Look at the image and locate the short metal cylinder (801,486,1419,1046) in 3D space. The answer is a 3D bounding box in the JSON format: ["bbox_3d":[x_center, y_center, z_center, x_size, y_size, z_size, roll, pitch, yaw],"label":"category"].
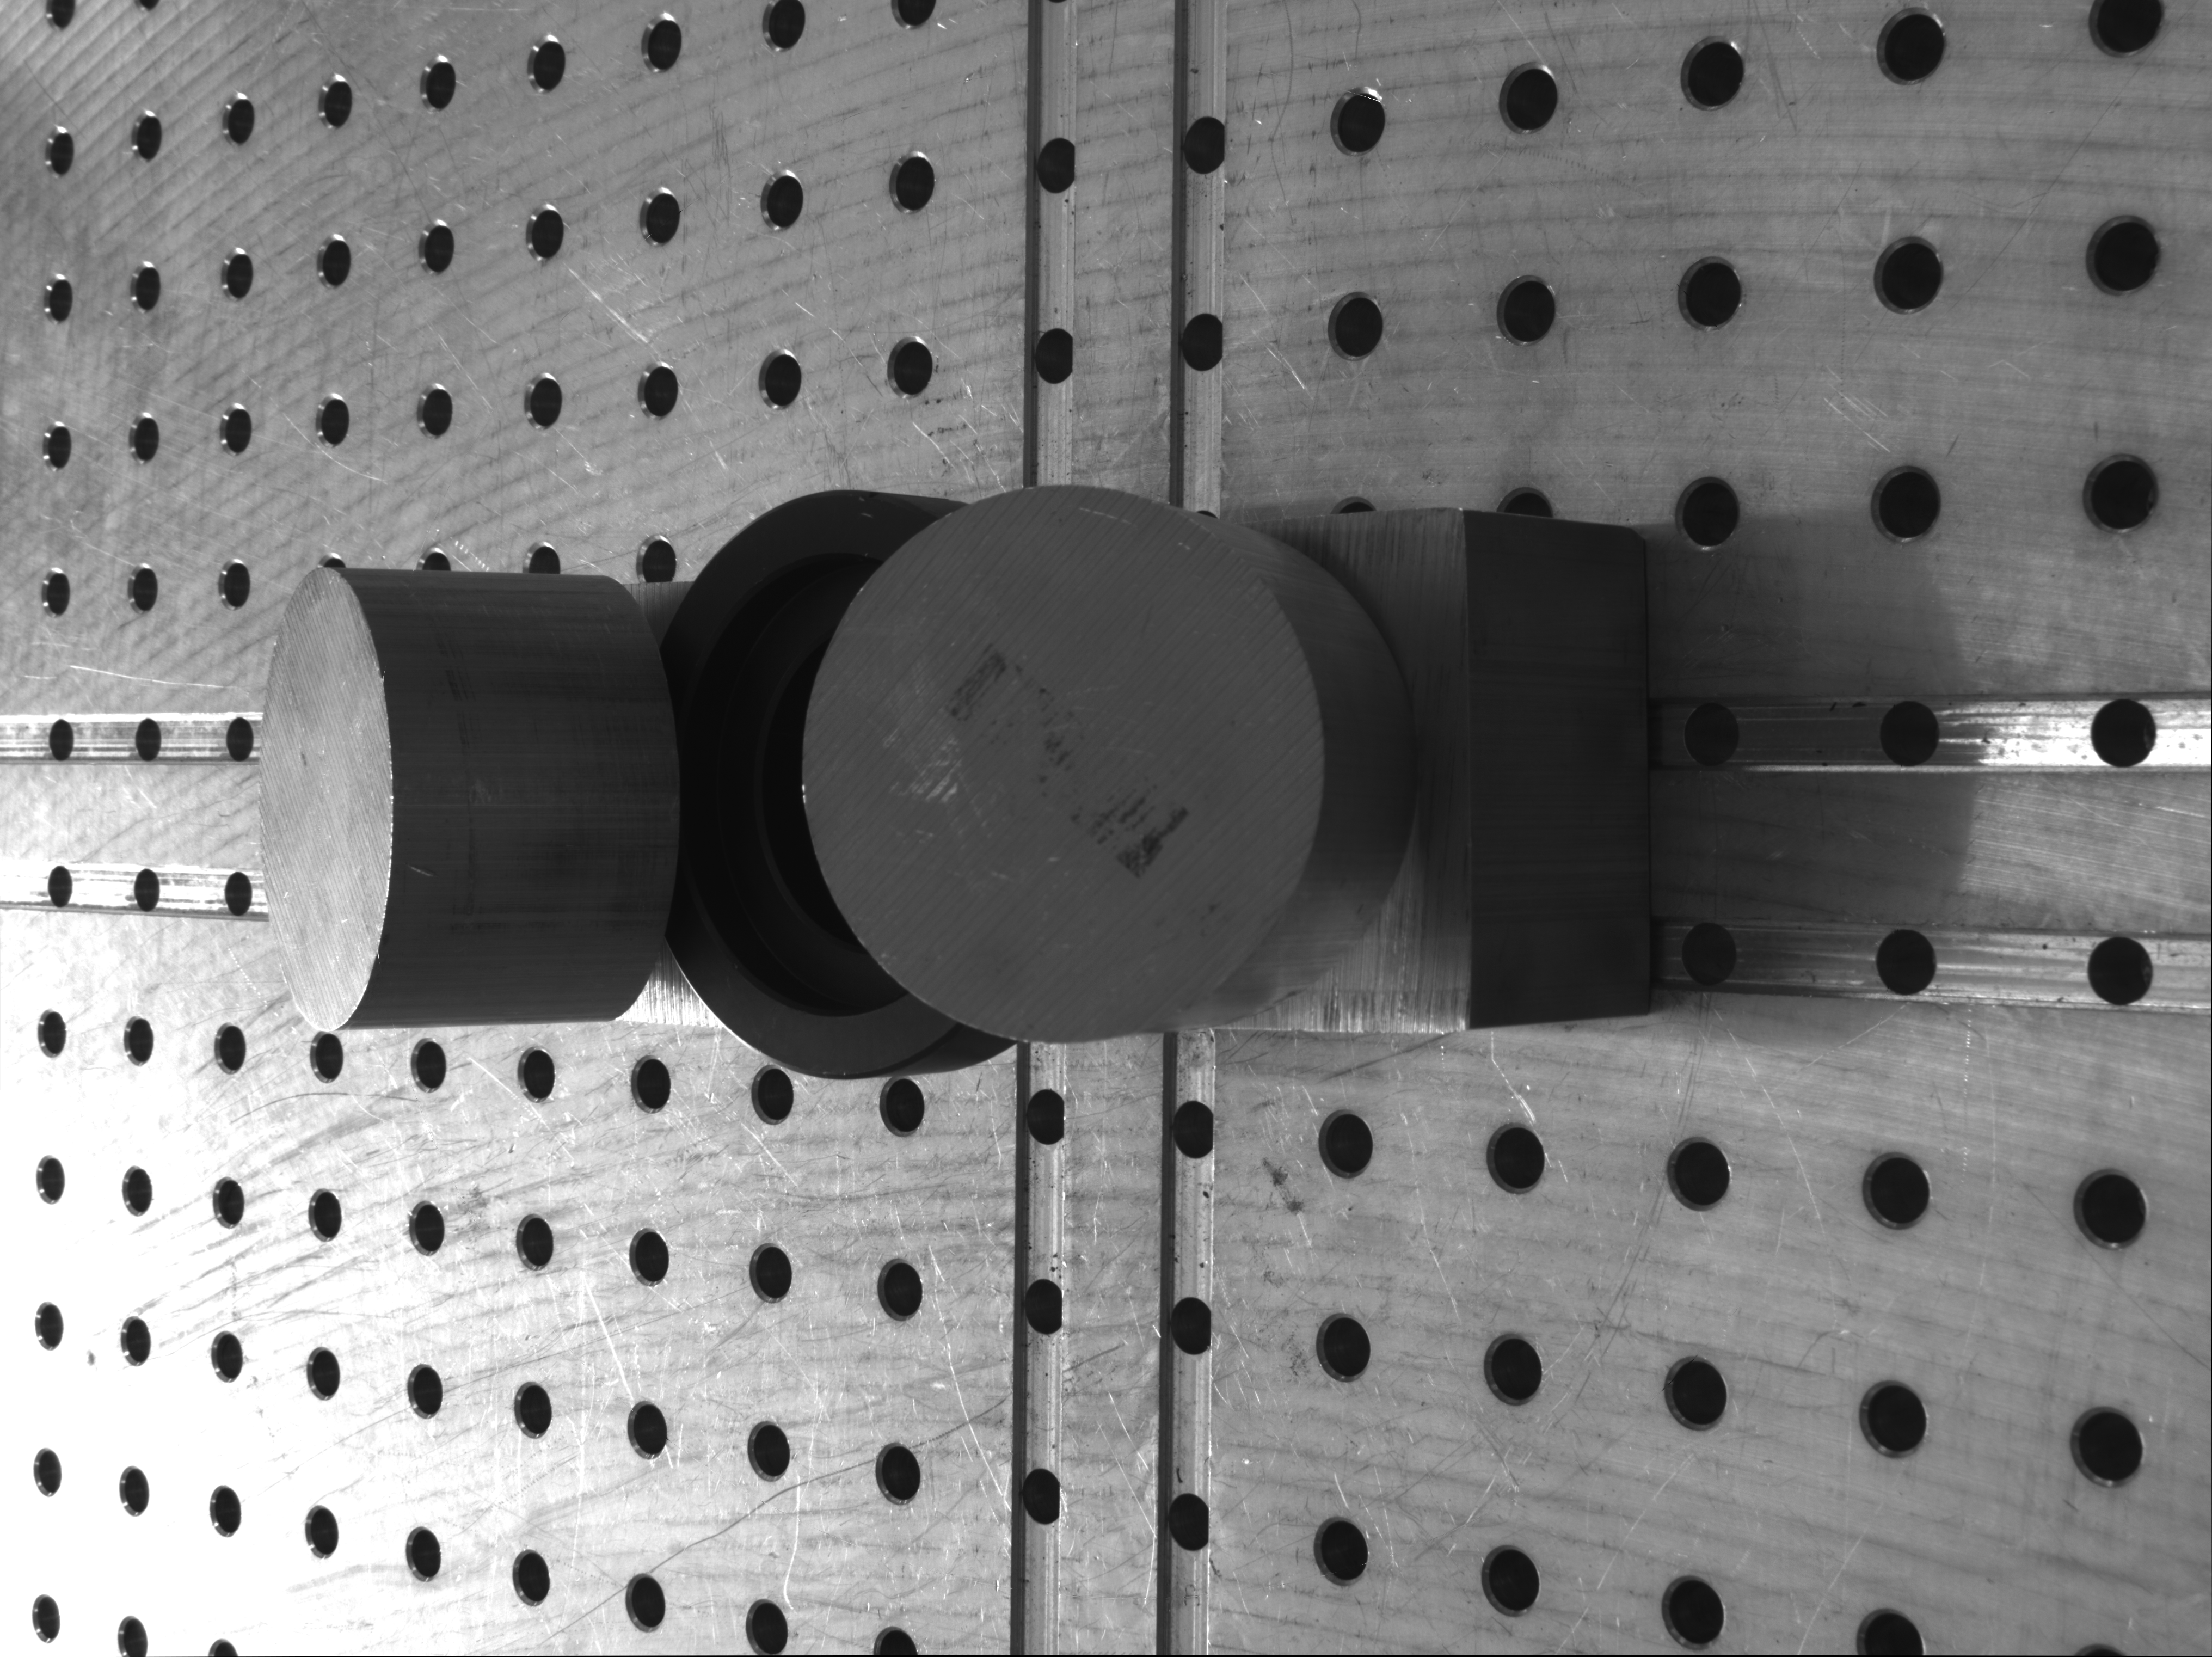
[{"bbox_3d":[0.001,-0.009,0.548,0.080,0.050,0.080,0,89,20],"label":"short metal cylinder"}]

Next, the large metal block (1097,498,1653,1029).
[{"bbox_3d":[0.041,-0.009,0.597,0.080,0.050,0.080,-1,89,40],"label":"large metal block"}]

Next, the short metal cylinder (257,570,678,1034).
[{"bbox_3d":[-0.114,-0.005,0.645,0.080,0.050,0.080,3,94,61],"label":"short metal cylinder"}]

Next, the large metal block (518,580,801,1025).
[{"bbox_3d":[-0.073,-0.005,0.693,0.080,0.050,0.080,1,90,40],"label":"large metal block"}]

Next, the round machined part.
[{"bbox_3d":[-0.032,-0.007,0.626,0.098,0.042,0.098,0,90,40],"label":"round machined part"}]
